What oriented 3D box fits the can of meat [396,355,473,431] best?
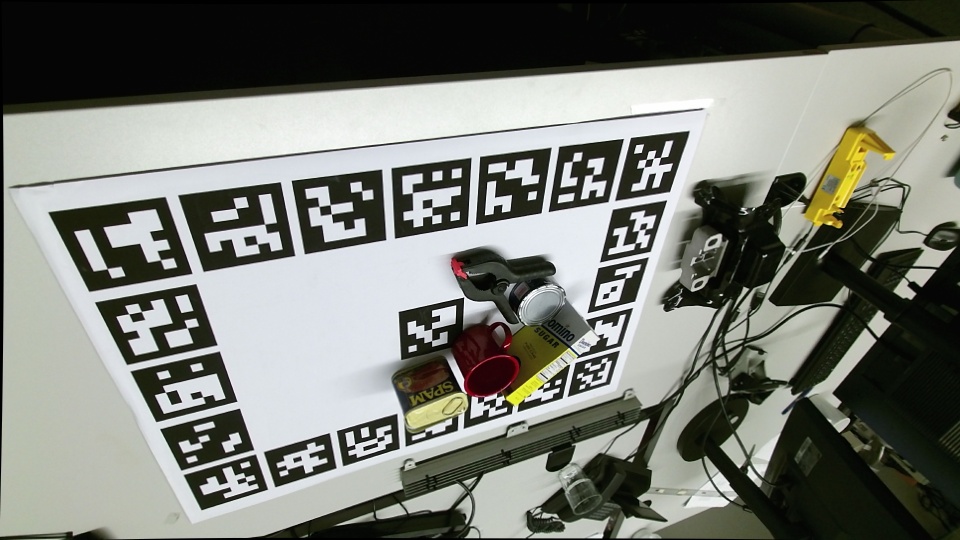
[{"bbox_3d":[-0.074,0.189,0.837,0.102,0.083,0.058,-18,131,-13],"label":"can of meat"}]

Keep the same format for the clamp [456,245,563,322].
[{"bbox_3d":[0.034,0.009,0.792,0.166,0.036,0.122,25,114,-33],"label":"clamp"}]

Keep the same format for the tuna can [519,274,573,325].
[{"bbox_3d":[0.106,0.042,0.846,0.086,0.033,0.086,-13,126,-19],"label":"tuna can"}]

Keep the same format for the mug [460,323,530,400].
[{"bbox_3d":[0.024,0.133,0.836,0.094,0.081,0.117,12,115,-33],"label":"mug"}]

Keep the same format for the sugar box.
[{"bbox_3d":[0.108,0.126,0.878,0.176,0.092,0.045,-40,133,6],"label":"sugar box"}]
